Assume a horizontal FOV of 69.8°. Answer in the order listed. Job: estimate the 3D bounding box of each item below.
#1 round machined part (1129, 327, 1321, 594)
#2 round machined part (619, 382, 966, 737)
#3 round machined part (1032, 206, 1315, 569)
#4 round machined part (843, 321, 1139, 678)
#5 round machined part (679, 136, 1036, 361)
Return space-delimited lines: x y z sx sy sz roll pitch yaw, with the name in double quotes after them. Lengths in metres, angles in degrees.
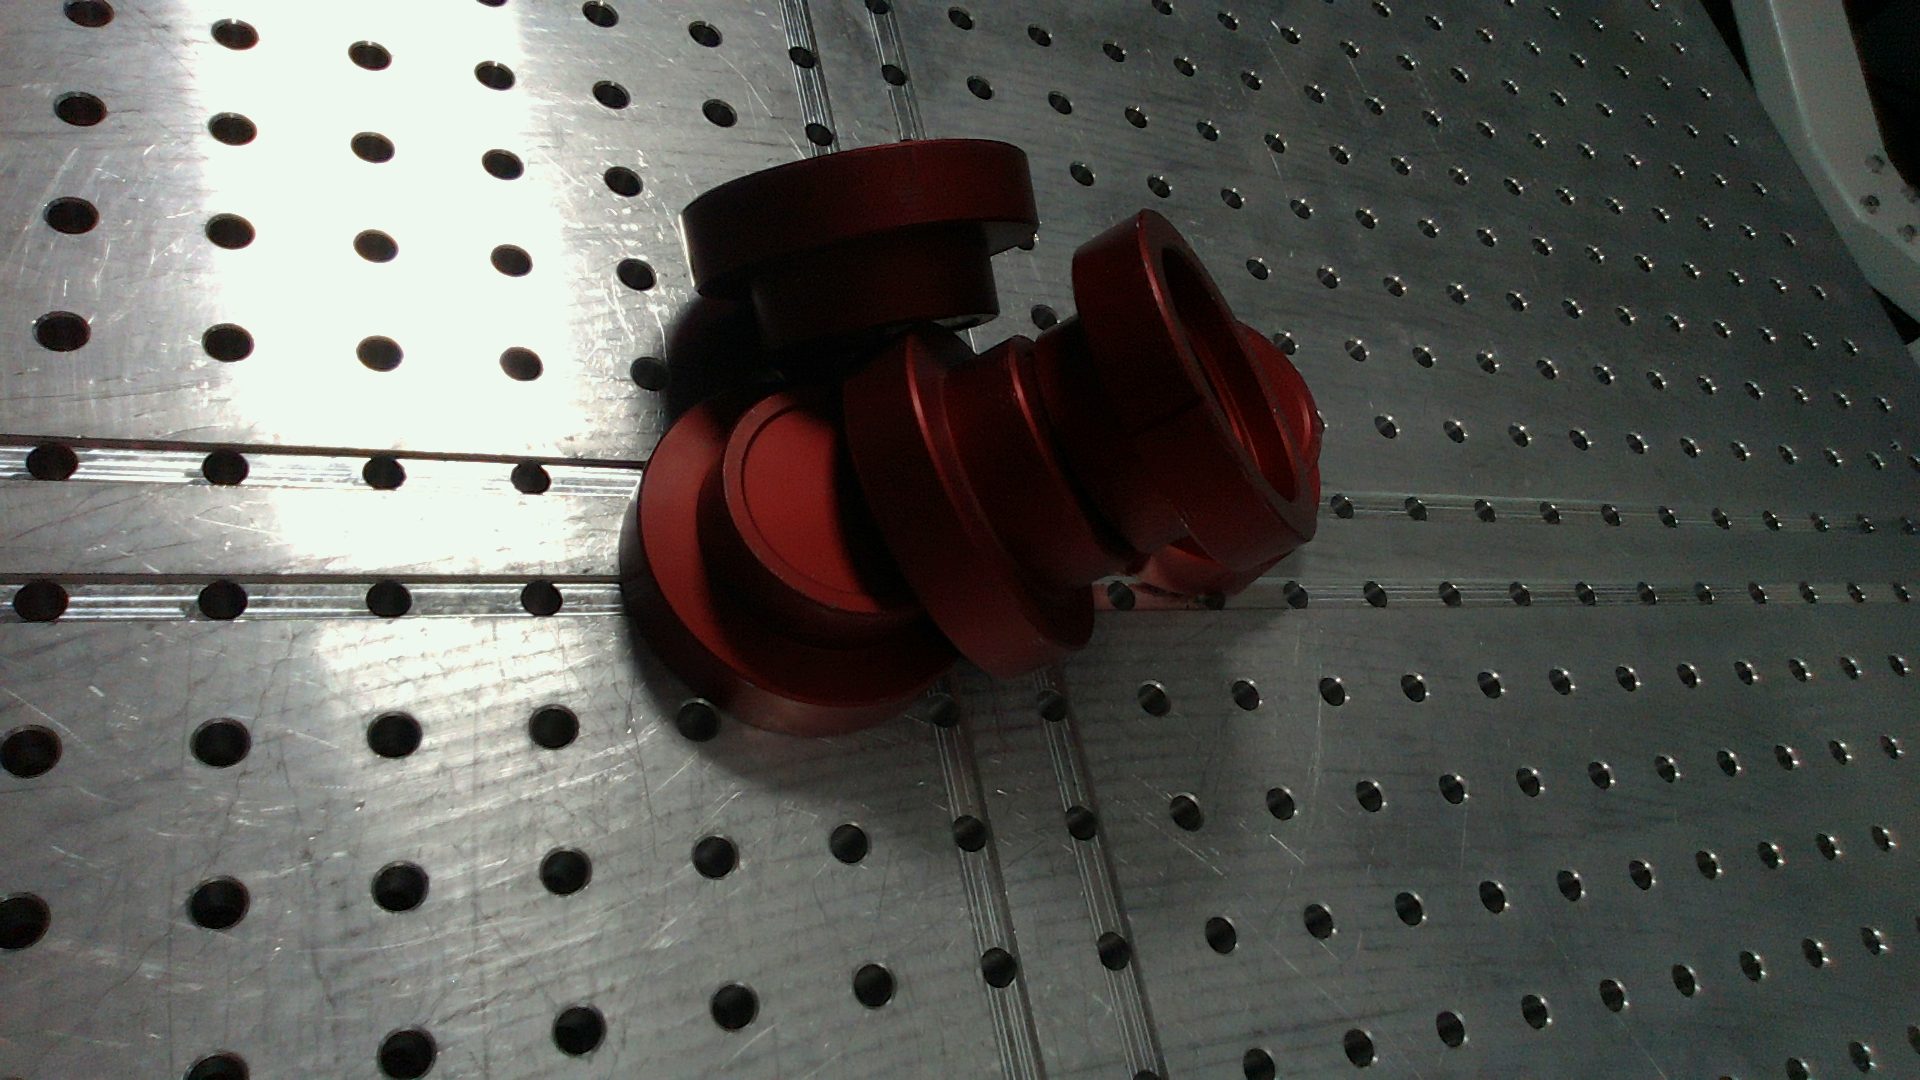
0.076 -0.035 0.444 0.098 0.042 0.098 14 56 -21 "round machined part"
-0.037 -0.002 0.363 0.098 0.042 0.098 14 56 -21 "round machined part"
0.055 -0.037 0.372 0.098 0.042 0.098 47 28 -34 "round machined part"
0.014 -0.016 0.368 0.098 0.042 0.098 52 21 -30 "round machined part"
-0.026 -0.078 0.386 0.098 0.098 0.042 -13 94 -33 "round machined part"
